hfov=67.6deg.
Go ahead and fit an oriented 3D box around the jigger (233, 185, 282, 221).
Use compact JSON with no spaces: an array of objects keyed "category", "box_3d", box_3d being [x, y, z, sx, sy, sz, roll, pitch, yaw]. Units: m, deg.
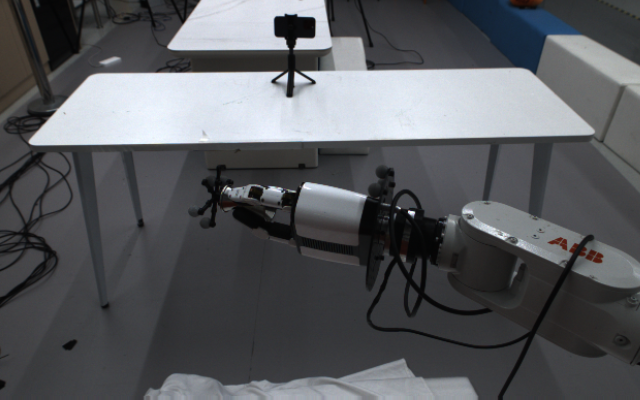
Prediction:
[{"category":"jigger","box_3d":[-0.092,0.000,0.664,0.071,0.043,0.043,10,35,16]}]
